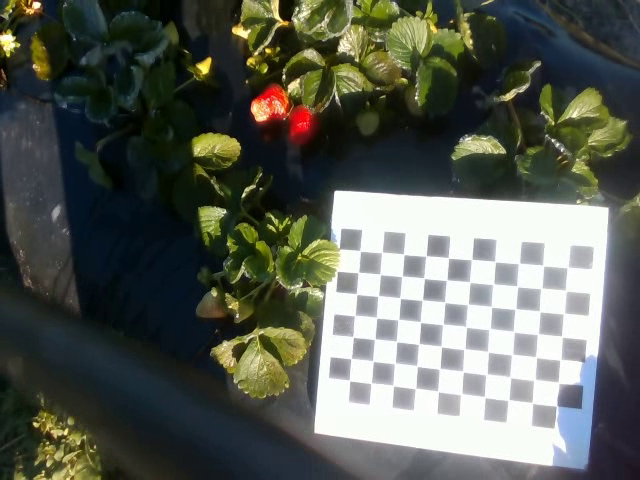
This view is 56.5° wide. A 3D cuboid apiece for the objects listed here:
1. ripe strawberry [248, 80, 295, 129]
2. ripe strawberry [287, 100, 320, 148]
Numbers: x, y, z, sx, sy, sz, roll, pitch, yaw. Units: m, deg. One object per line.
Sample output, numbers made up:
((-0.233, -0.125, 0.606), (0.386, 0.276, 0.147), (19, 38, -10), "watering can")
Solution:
((-0.071, -0.189, 0.834), (0.069, 0.053, 0.040), (-39, -2, 0), "ripe strawberry")
((-0.028, -0.163, 0.814), (0.043, 0.059, 0.040), (4, -7, 11), "ripe strawberry")
